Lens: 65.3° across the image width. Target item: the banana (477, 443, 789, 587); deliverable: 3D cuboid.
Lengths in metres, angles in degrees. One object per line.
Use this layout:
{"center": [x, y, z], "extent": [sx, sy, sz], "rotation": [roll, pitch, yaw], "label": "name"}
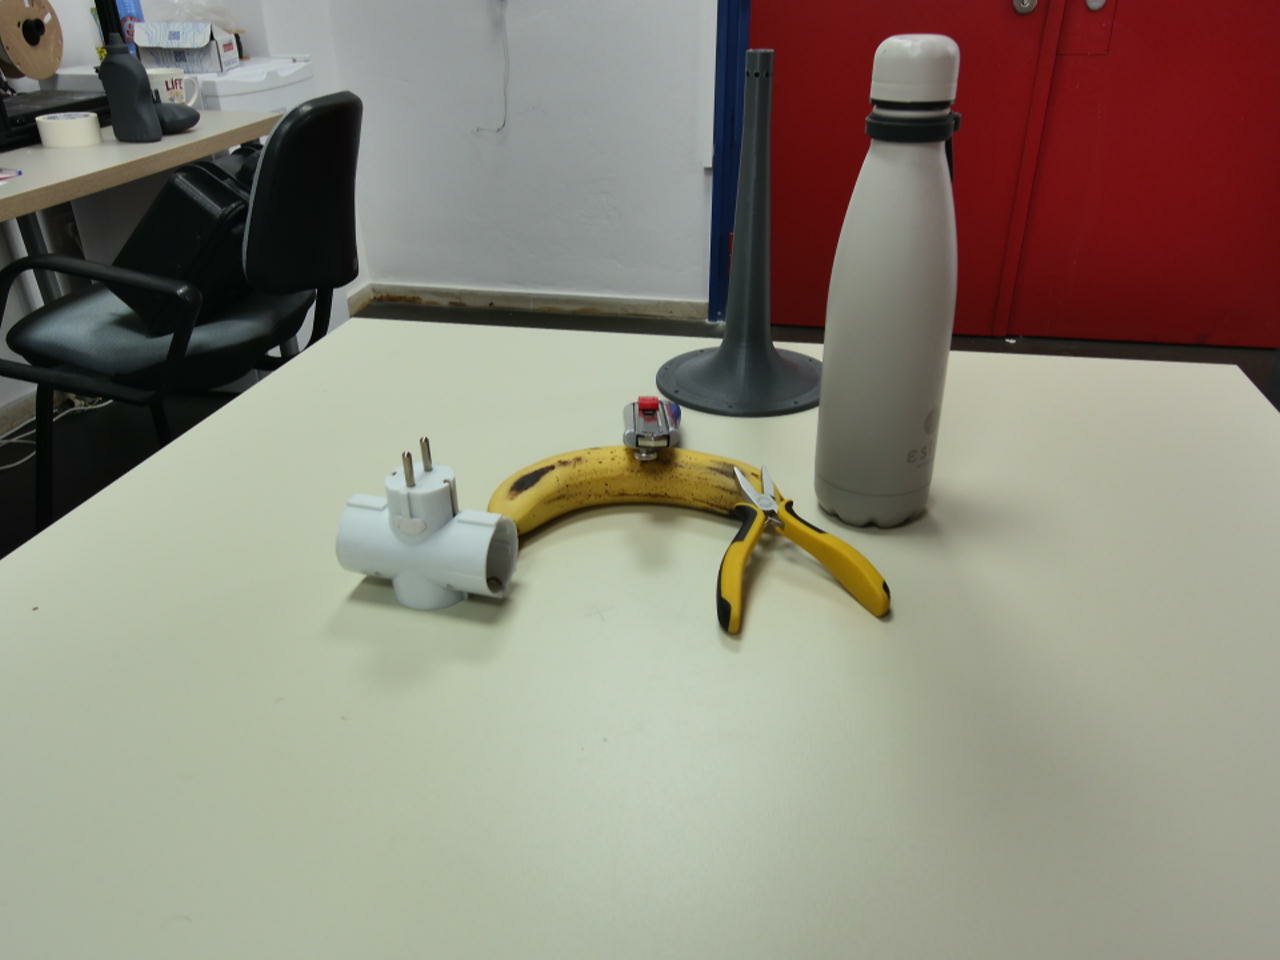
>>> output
{"center": [-0.009, 0.010, 0.621], "extent": [0.186, 0.038, 0.097], "rotation": [-7, 27, -14], "label": "banana"}
